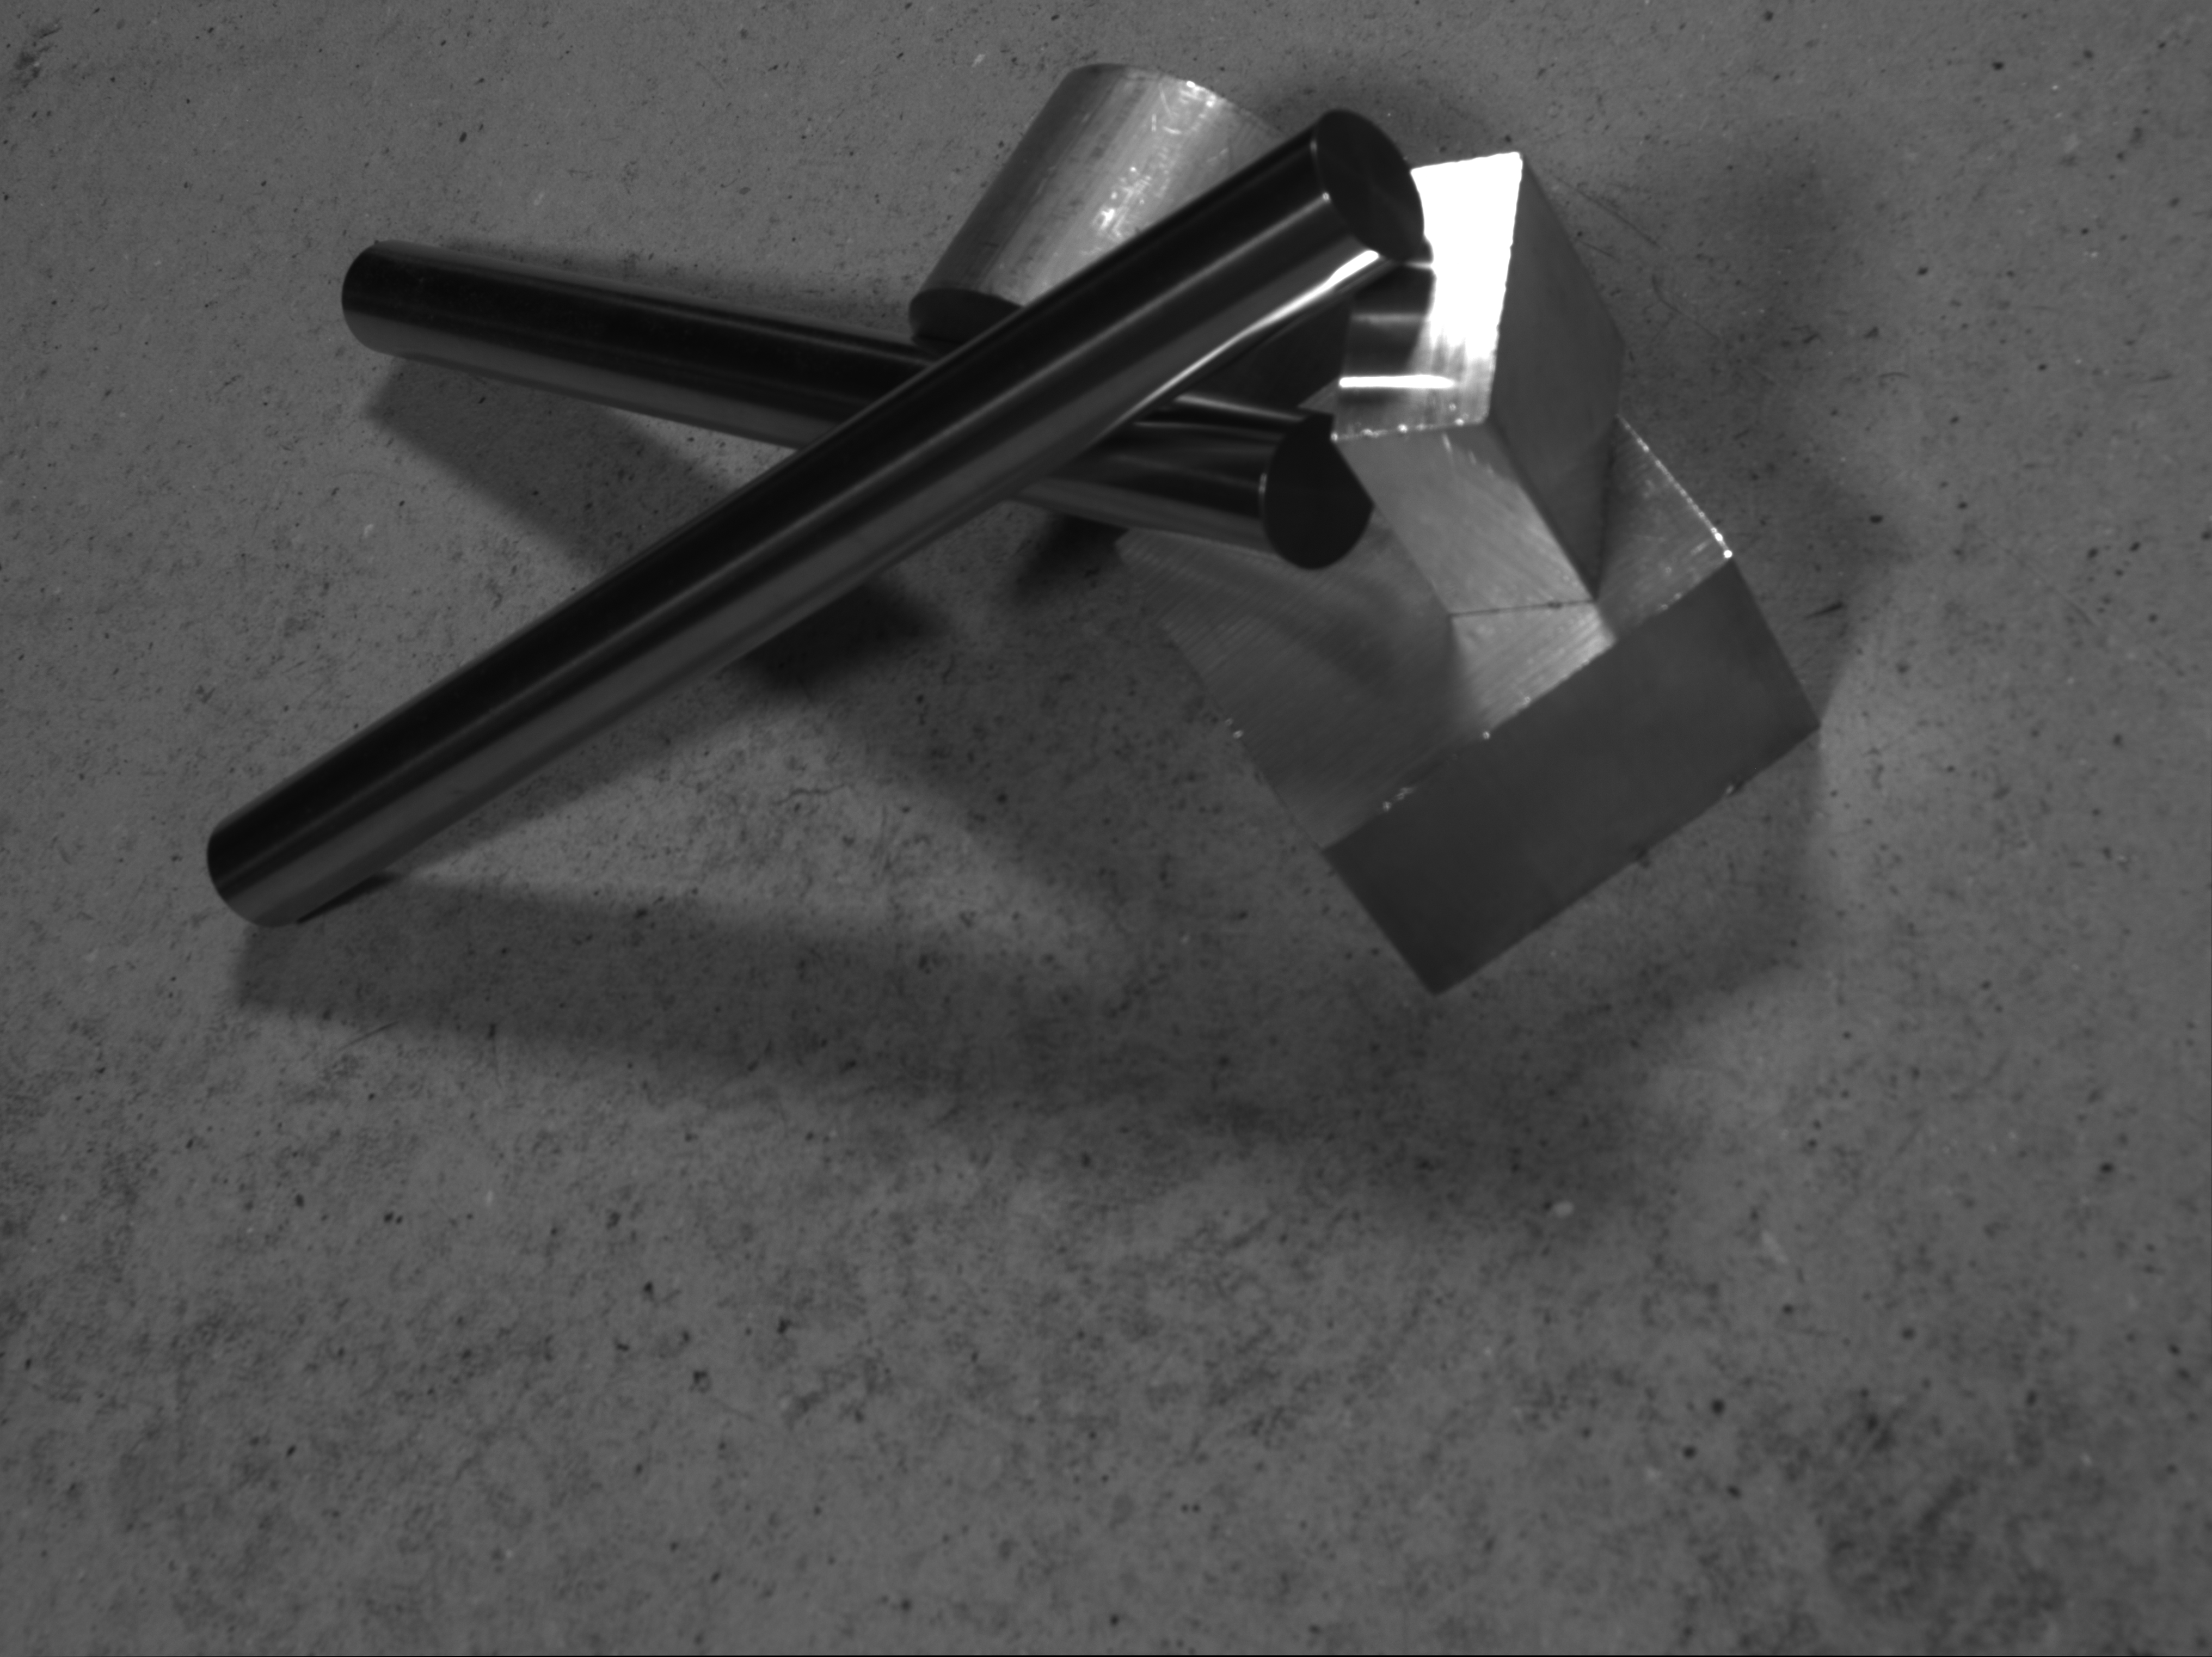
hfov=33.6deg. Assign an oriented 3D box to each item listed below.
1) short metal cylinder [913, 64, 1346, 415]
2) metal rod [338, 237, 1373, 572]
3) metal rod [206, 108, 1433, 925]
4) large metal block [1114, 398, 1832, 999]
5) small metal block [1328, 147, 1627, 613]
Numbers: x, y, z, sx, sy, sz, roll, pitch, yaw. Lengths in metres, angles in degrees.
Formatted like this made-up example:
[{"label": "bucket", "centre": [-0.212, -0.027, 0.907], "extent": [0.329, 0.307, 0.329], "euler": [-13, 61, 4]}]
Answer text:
[{"label": "short metal cylinder", "centre": [0.012, -0.092, 0.661], "extent": [0.080, 0.080, 0.050], "euler": [23, 74, 36]}, {"label": "metal rod", "centre": [-0.061, -0.085, 0.693], "extent": [0.299, 0.025, 0.025], "euler": [18, 71, 48]}, {"label": "metal rod", "centre": [-0.064, -0.044, 0.638], "extent": [0.299, 0.025, 0.025], "euler": [-26, 49, 39]}, {"label": "large metal block", "centre": [0.061, -0.033, 0.614], "extent": [0.080, 0.050, 0.080], "euler": [-36, 50, 5]}, {"label": "small metal block", "centre": [0.059, -0.069, 0.571], "extent": [0.025, 0.050, 0.050], "euler": [-4, 60, 27]}]
